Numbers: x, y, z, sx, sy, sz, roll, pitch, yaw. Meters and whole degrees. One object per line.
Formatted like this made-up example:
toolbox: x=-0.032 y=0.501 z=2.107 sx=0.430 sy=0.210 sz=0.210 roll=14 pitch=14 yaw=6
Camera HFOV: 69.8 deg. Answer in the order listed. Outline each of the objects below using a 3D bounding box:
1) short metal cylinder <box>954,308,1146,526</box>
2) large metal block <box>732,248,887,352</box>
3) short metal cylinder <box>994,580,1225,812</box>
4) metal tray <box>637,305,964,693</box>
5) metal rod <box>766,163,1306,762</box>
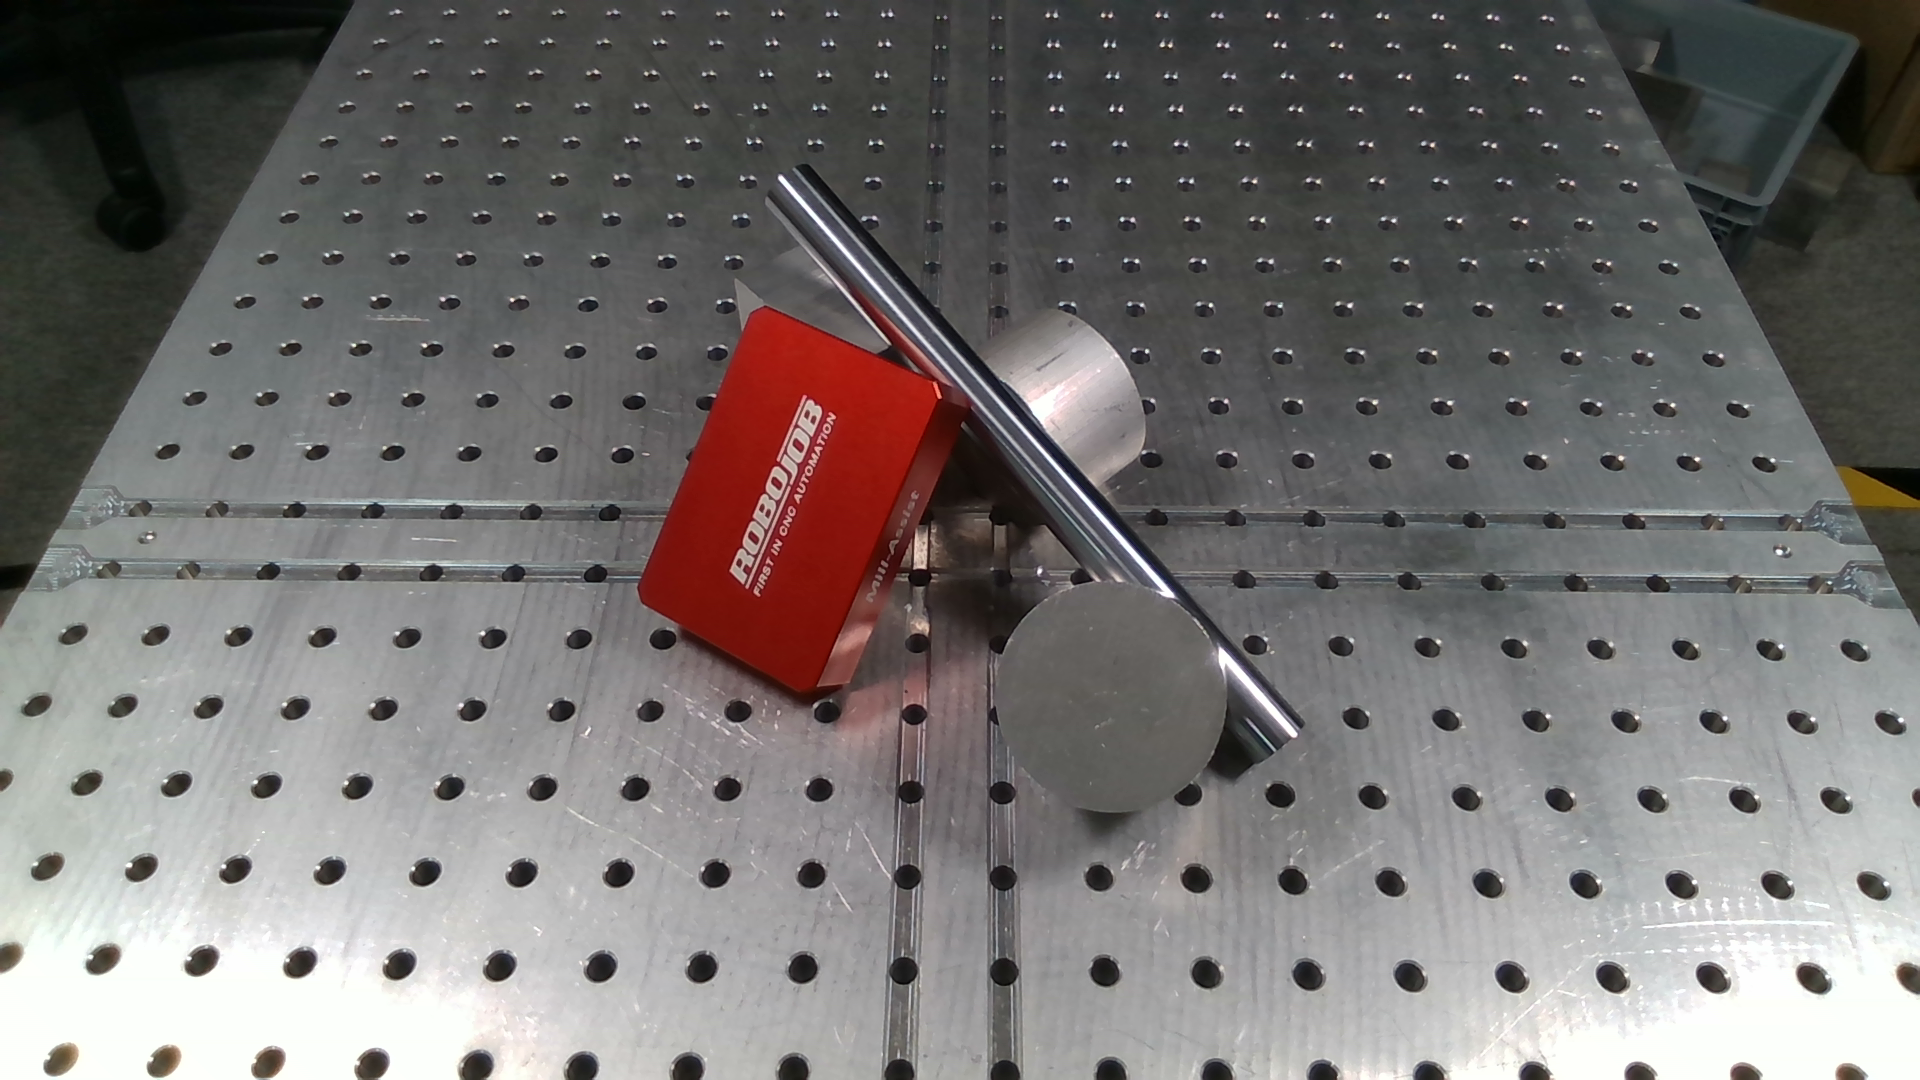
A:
short metal cylinder: x=0.034 y=-0.053 z=0.598 sx=0.050 sy=0.080 sz=0.080 roll=-36 pitch=59 yaw=-26
large metal block: x=-0.054 y=-0.077 z=0.618 sx=0.050 sy=0.080 sz=0.080 roll=-33 pitch=57 yaw=-24
short metal cylinder: x=0.056 y=0.055 z=0.502 sx=0.080 sy=0.050 sz=0.080 roll=-1 pitch=88 yaw=12
metal tray: x=-0.064 y=-0.016 z=0.548 sx=0.090 sy=0.030 sz=0.130 roll=26 pitch=97 yaw=20
metal rod: x=0.026 y=-0.035 z=0.550 sx=0.025 sy=0.025 sz=0.300 roll=-36 pitch=80 yaw=-26
